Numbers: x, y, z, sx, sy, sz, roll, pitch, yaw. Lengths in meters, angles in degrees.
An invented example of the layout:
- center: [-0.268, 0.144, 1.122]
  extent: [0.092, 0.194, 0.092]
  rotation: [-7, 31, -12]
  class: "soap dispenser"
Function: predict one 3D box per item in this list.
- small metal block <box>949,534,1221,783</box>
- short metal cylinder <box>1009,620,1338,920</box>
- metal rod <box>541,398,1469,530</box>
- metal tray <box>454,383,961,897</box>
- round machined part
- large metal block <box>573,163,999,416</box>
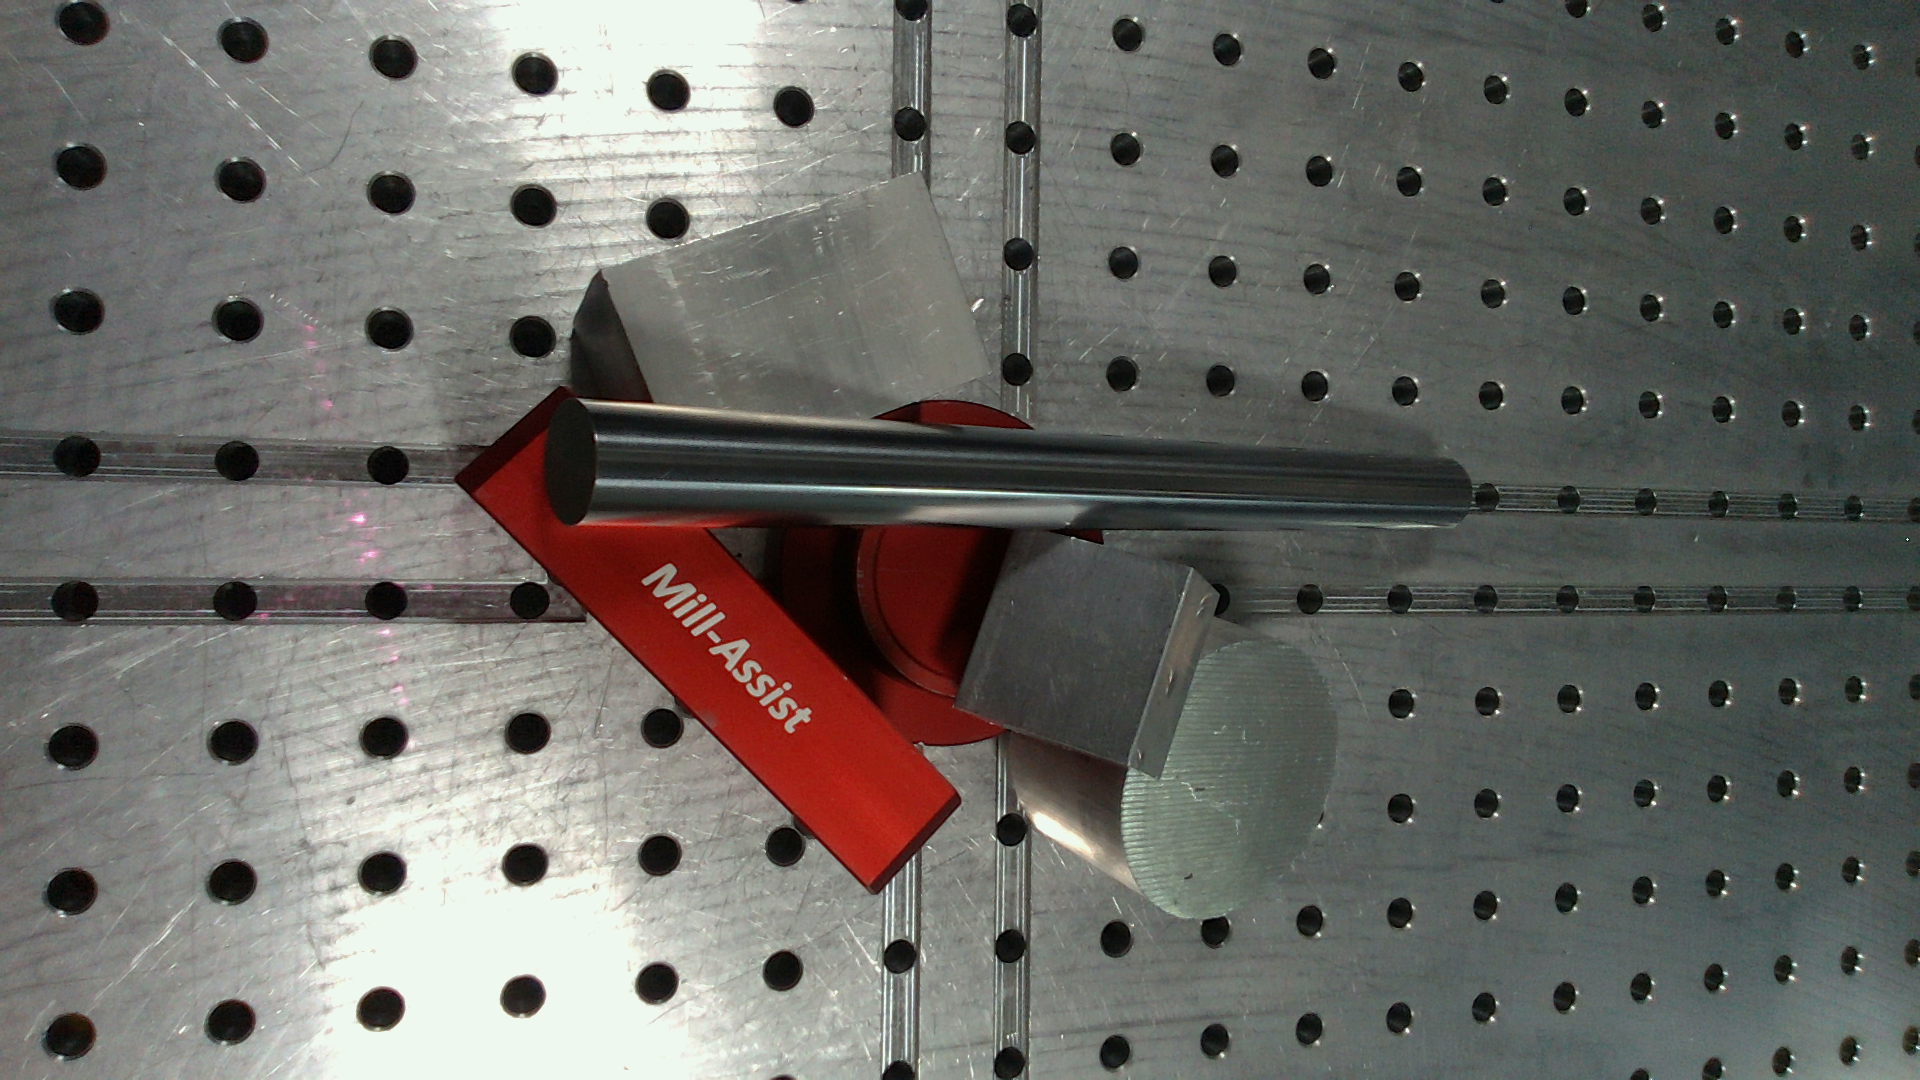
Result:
- center: [0.032, 0.028, 0.348]
  extent: [0.025, 0.050, 0.050]
  rotation: [35, 73, -60]
  class: "small metal block"
- center: [0.061, 0.060, 0.392]
  extent: [0.080, 0.050, 0.080]
  rotation: [-10, 108, -33]
  class: "short metal cylinder"
- center: [0.041, -0.015, 0.360]
  extent: [0.301, 0.025, 0.025]
  rotation: [0, 90, -39]
  class: "metal rod"
- center: [-0.065, 0.024, 0.337]
  extent: [0.030, 0.090, 0.130]
  rotation: [-45, 104, -14]
  class: "metal tray"
- center: [-0.004, 0.009, 0.388]
  extent: [0.098, 0.042, 0.098]
  rotation: [0, 90, -20]
  class: "round machined part"
- center: [-0.048, -0.050, 0.348]
  extent: [0.080, 0.080, 0.050]
  rotation: [-23, 98, -18]
  class: "large metal block"
